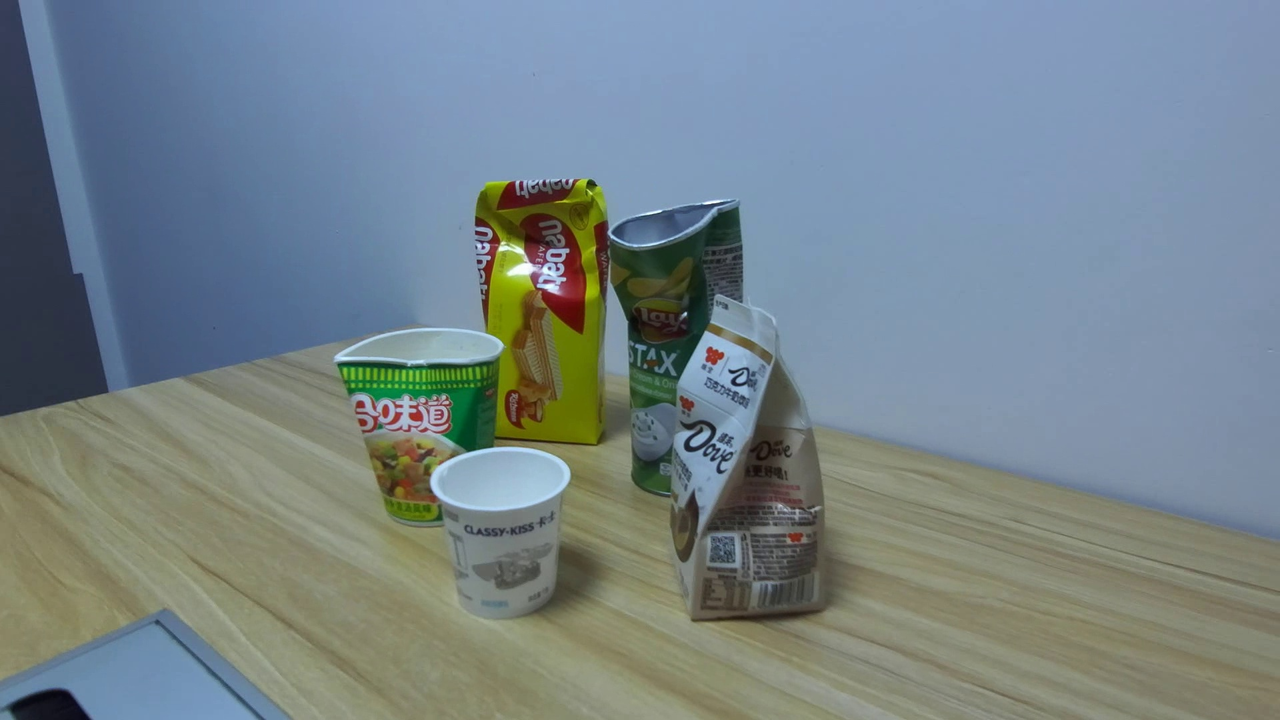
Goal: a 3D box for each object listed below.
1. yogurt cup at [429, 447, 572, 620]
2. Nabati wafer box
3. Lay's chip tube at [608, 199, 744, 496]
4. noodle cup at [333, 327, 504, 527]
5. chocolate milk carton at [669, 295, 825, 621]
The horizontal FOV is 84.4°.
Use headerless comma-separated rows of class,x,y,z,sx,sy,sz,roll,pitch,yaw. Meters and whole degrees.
yogurt cup,-0.072,0.092,0.372,0.072,0.068,0.072,1,17,0
Nabati wafer box,-0.075,-0.035,0.557,0.113,0.205,0.042,1,15,8
Lay's chip tube,0.025,-0.004,0.477,0.079,0.199,0.071,4,25,17
noodle cup,-0.133,0.042,0.464,0.093,0.109,0.087,7,18,20
chocolate milk carton,0.057,0.049,0.369,0.073,0.155,0.084,-2,19,-6
